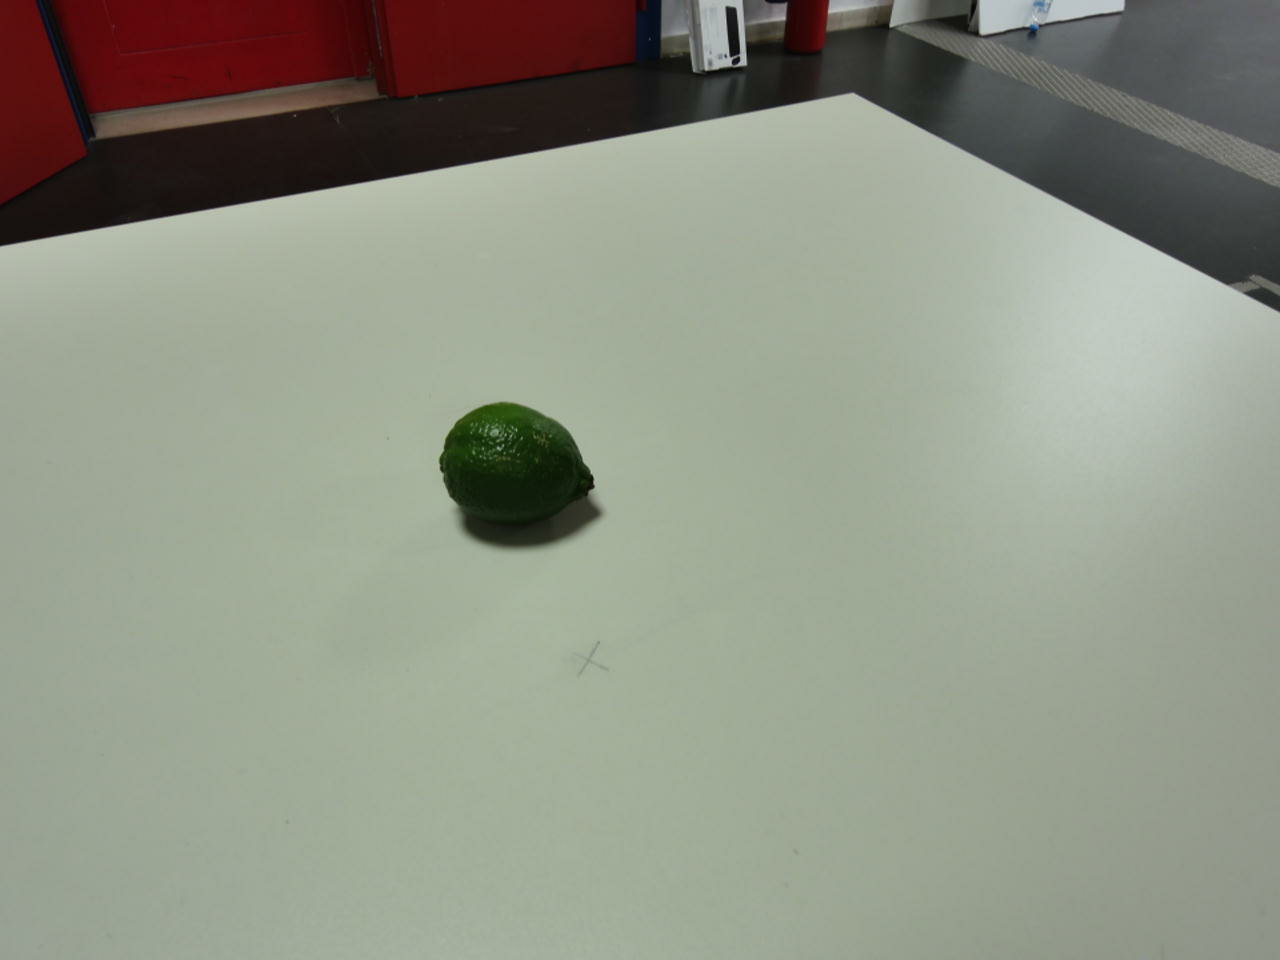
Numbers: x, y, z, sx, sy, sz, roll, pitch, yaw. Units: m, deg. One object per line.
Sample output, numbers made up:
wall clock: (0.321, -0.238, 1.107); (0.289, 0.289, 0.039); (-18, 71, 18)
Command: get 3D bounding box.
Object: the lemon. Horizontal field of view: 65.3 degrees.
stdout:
lemon: (-0.054, -0.007, 0.417); (0.057, 0.051, 0.054); (-20, 42, -24)
